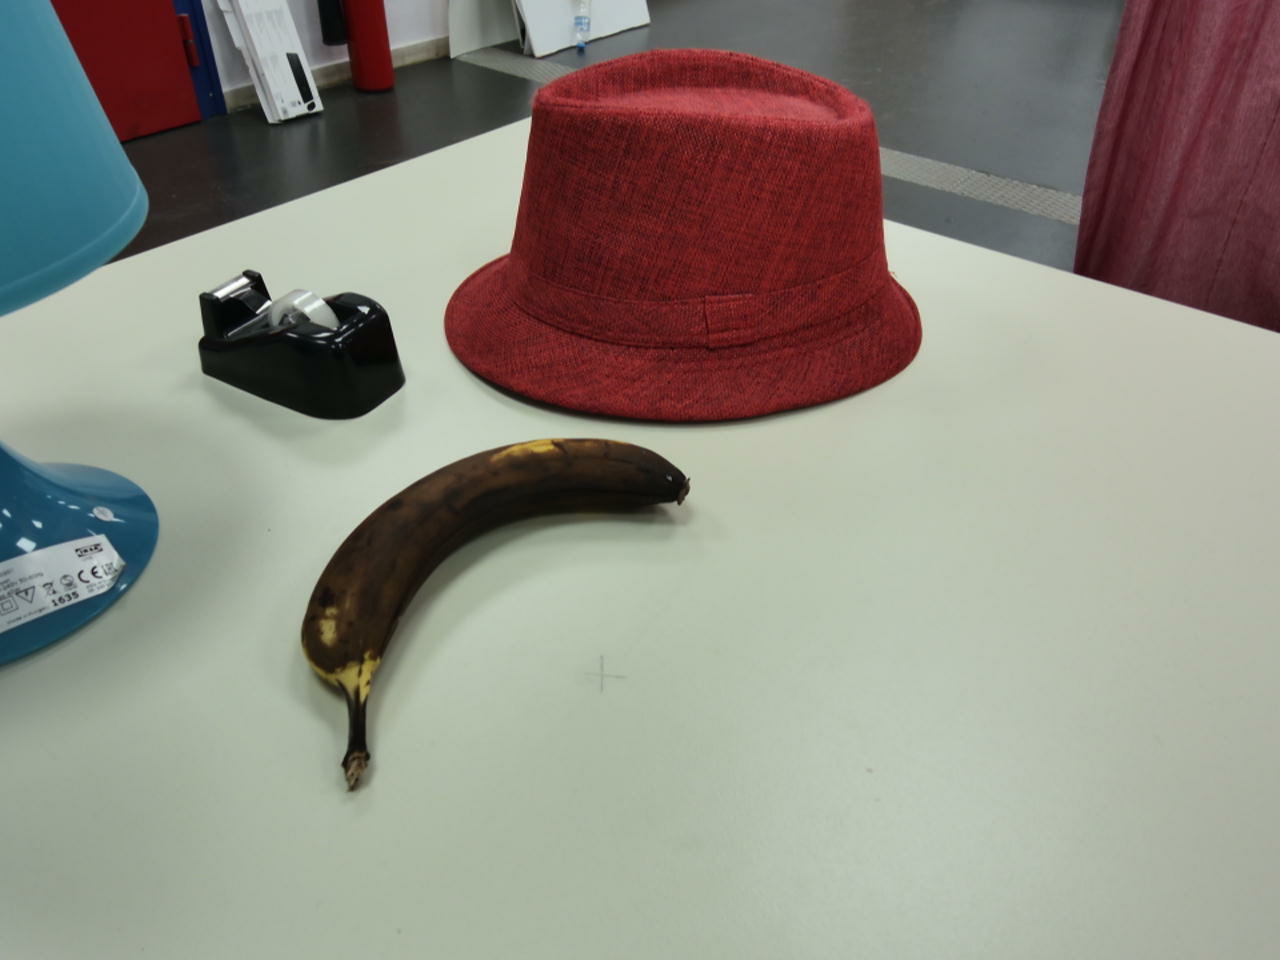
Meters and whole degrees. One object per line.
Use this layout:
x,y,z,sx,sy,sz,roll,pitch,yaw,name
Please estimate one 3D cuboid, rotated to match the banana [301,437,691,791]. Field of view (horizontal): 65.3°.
-0.066,0.026,0.392,0.091,0.034,0.188,26,43,30,banana
